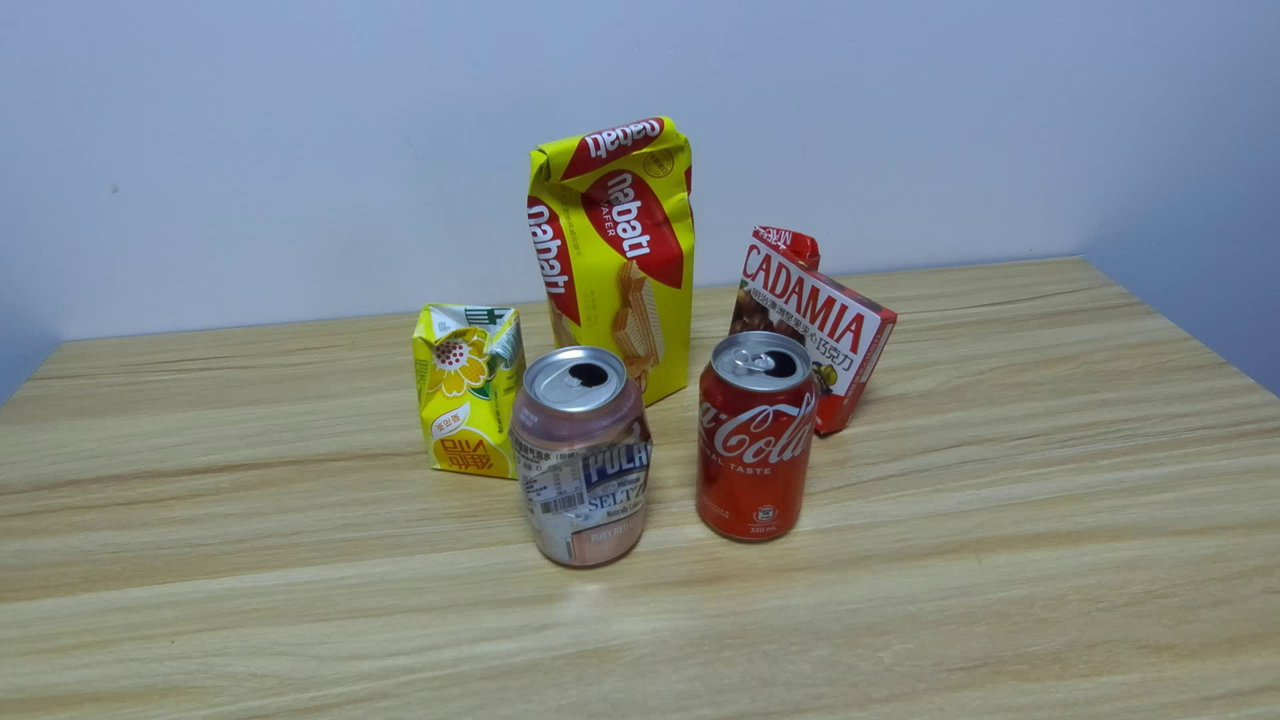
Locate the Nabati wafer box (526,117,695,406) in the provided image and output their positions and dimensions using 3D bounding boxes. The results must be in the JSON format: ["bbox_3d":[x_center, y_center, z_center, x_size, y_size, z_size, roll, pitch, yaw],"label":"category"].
[{"bbox_3d":[-0.013,-0.053,0.481,0.113,0.205,0.042,-25,41,-27],"label":"Nabati wafer box"}]

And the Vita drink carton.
[{"bbox_3d":[-0.111,0.022,0.465,0.071,0.110,0.046,5,35,10],"label":"Vita drink carton"}]

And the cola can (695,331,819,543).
[{"bbox_3d":[0.067,0.045,0.413,0.068,0.120,0.067,-1,37,1],"label":"cola can"}]

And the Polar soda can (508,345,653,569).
[{"bbox_3d":[-0.030,0.057,0.401,0.074,0.122,0.067,6,37,12],"label":"Polar soda can"}]

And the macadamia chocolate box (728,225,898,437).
[{"bbox_3d":[0.119,-0.024,0.513,0.056,0.112,0.126,-17,38,-23],"label":"macadamia chocolate box"}]
